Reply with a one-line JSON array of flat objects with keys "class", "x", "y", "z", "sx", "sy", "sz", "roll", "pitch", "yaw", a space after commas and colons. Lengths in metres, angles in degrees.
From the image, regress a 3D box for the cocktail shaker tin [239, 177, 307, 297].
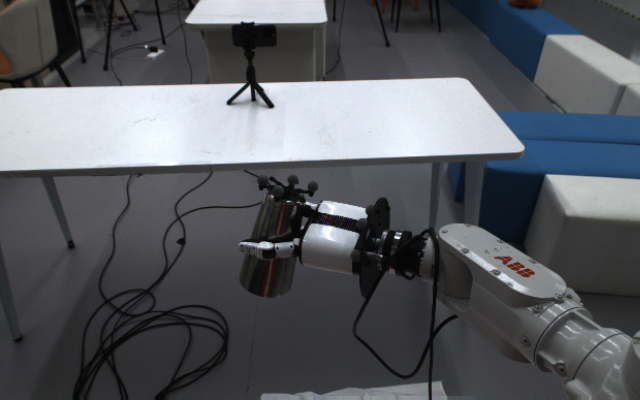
[{"class": "cocktail shaker tin", "x": -0.073, "y": 0.063, "z": 0.800, "sx": 0.093, "sy": 0.170, "sz": 0.093, "roll": 12, "pitch": 24, "yaw": -5}]
